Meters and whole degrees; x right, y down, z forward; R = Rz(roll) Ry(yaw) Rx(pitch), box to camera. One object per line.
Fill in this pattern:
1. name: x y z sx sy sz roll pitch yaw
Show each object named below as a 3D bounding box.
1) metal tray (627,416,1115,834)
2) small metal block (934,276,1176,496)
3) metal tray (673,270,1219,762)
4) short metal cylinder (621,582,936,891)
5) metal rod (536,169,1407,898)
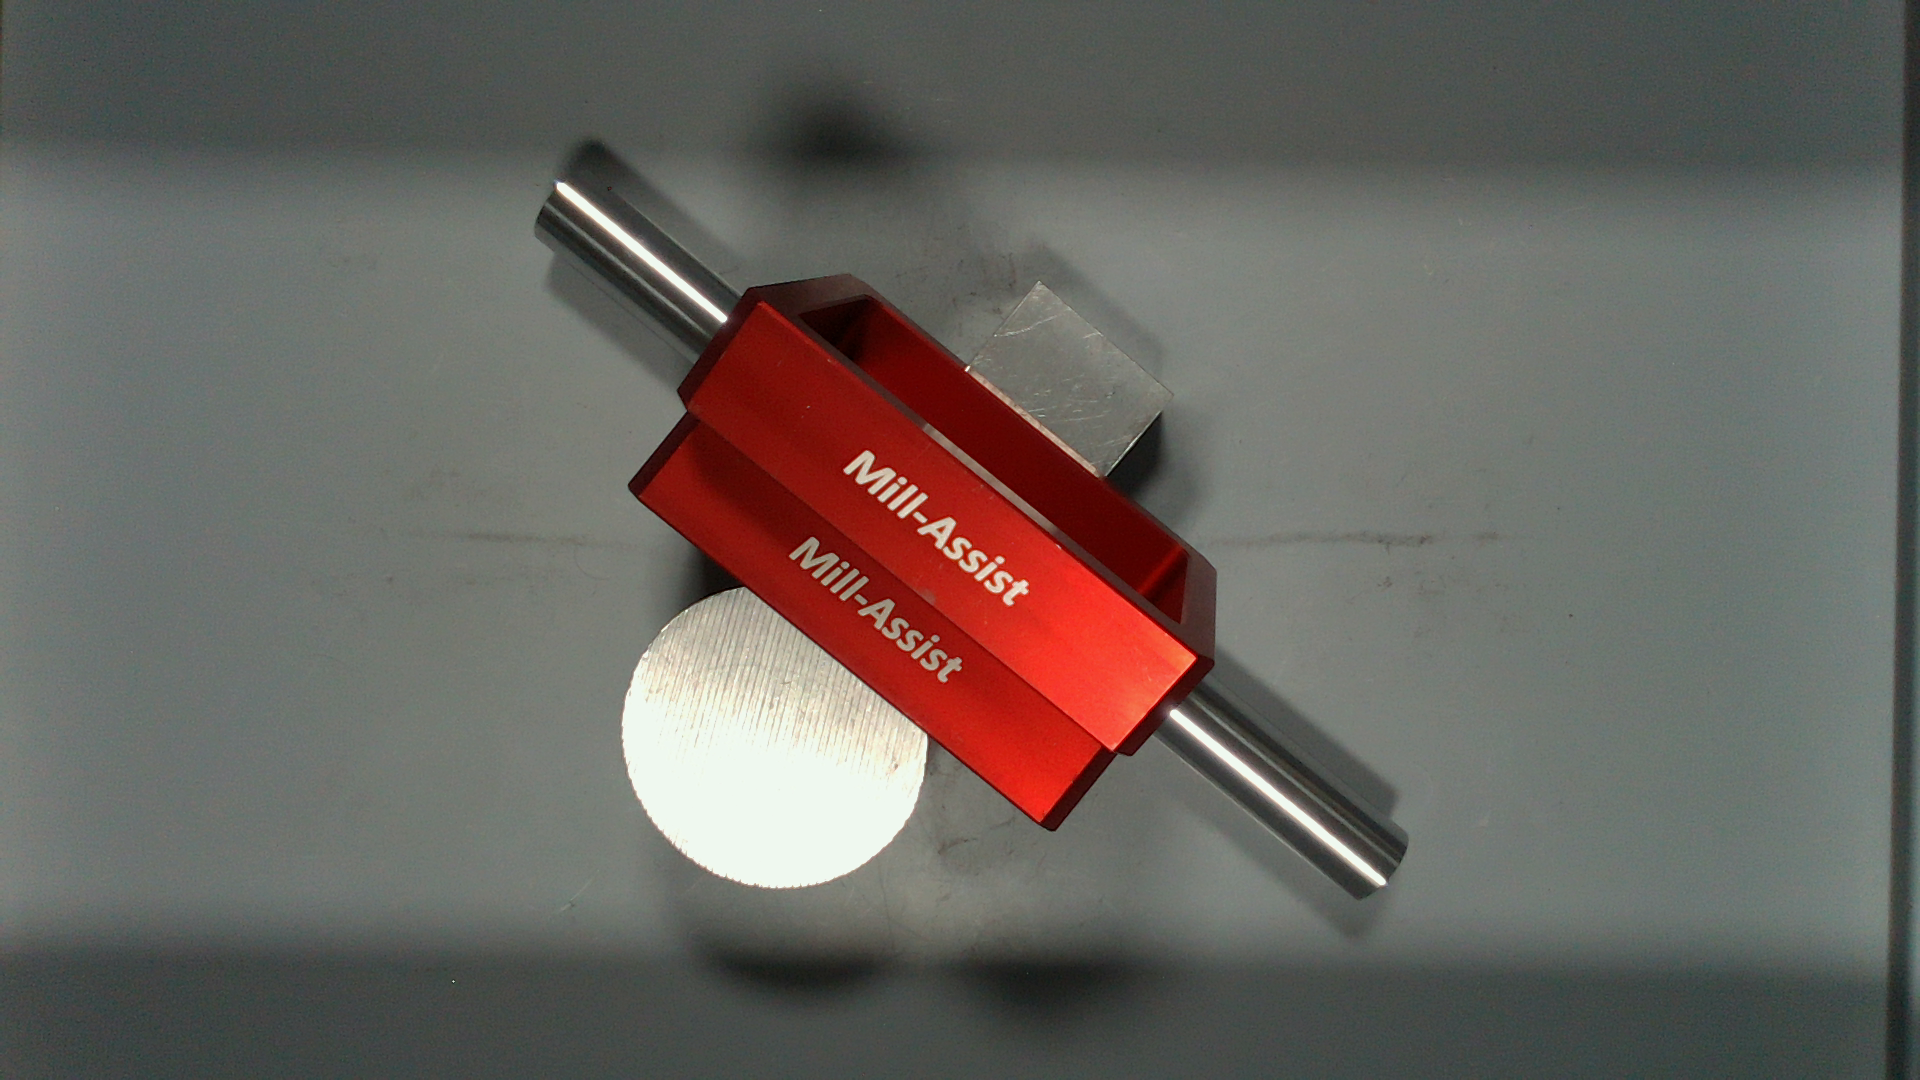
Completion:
1. metal tray: -0.018 0.017 0.362 0.130 0.090 0.030 39 90 0
2. small metal block: 0.025 -0.038 0.394 0.050 0.025 0.050 40 90 0
3. metal tray: 0.004 -0.012 0.336 0.130 0.090 0.030 39 107 0
4. short metal cylinder: -0.045 0.048 0.376 0.080 0.050 0.080 1 97 5
5. metal rod: 0.004 -0.002 0.395 0.300 0.025 0.025 39 90 0
